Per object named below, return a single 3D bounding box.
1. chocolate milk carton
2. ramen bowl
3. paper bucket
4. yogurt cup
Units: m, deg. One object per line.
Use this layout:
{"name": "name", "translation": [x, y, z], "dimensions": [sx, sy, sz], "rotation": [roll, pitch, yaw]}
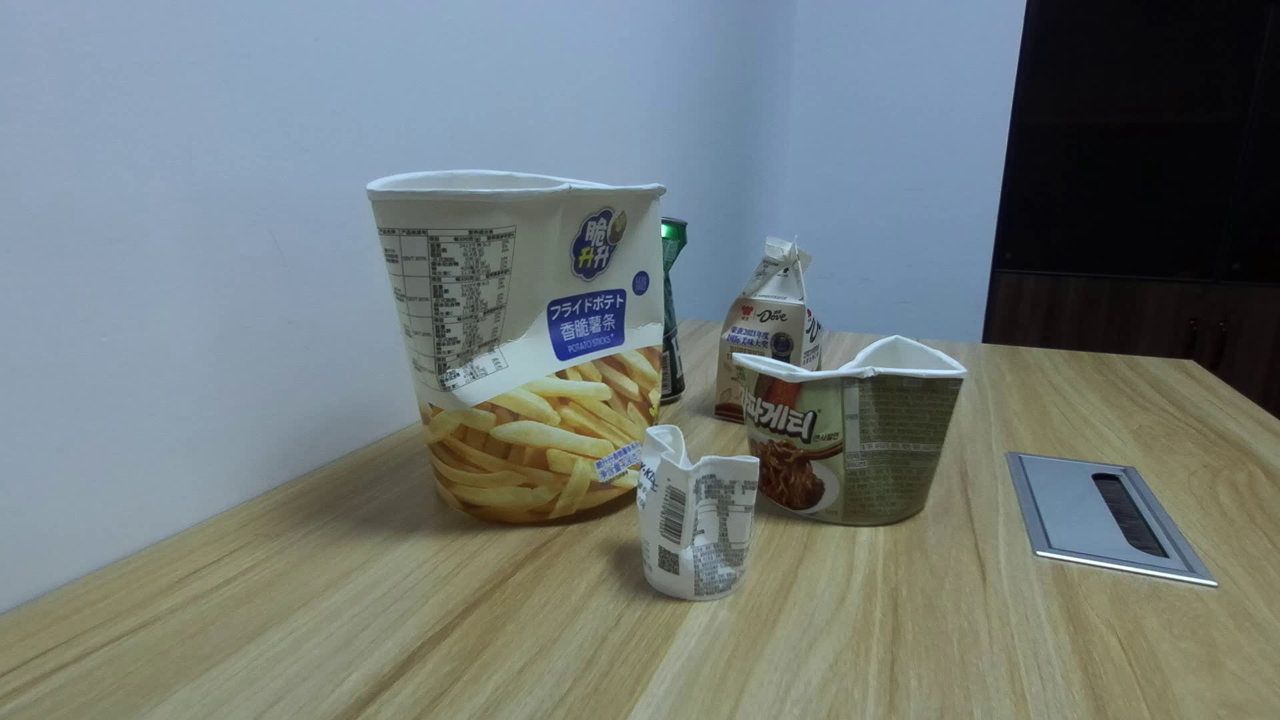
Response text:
{"name": "chocolate milk carton", "translation": [0.114, -0.027, 0.585], "dimensions": [0.073, 0.155, 0.076], "rotation": [11, 17, 28]}
{"name": "ramen bowl", "translation": [0.123, 0.039, 0.449], "dimensions": [0.128, 0.093, 0.111], "rotation": [-2, 15, -7]}
{"name": "paper bucket", "translation": [-0.059, -0.019, 0.452], "dimensions": [0.147, 0.199, 0.218], "rotation": [2, 15, 5]}
{"name": "yogurt cup", "translation": [0.027, 0.074, 0.350], "dimensions": [0.055, 0.072, 0.054], "rotation": [-5, 17, -10]}
